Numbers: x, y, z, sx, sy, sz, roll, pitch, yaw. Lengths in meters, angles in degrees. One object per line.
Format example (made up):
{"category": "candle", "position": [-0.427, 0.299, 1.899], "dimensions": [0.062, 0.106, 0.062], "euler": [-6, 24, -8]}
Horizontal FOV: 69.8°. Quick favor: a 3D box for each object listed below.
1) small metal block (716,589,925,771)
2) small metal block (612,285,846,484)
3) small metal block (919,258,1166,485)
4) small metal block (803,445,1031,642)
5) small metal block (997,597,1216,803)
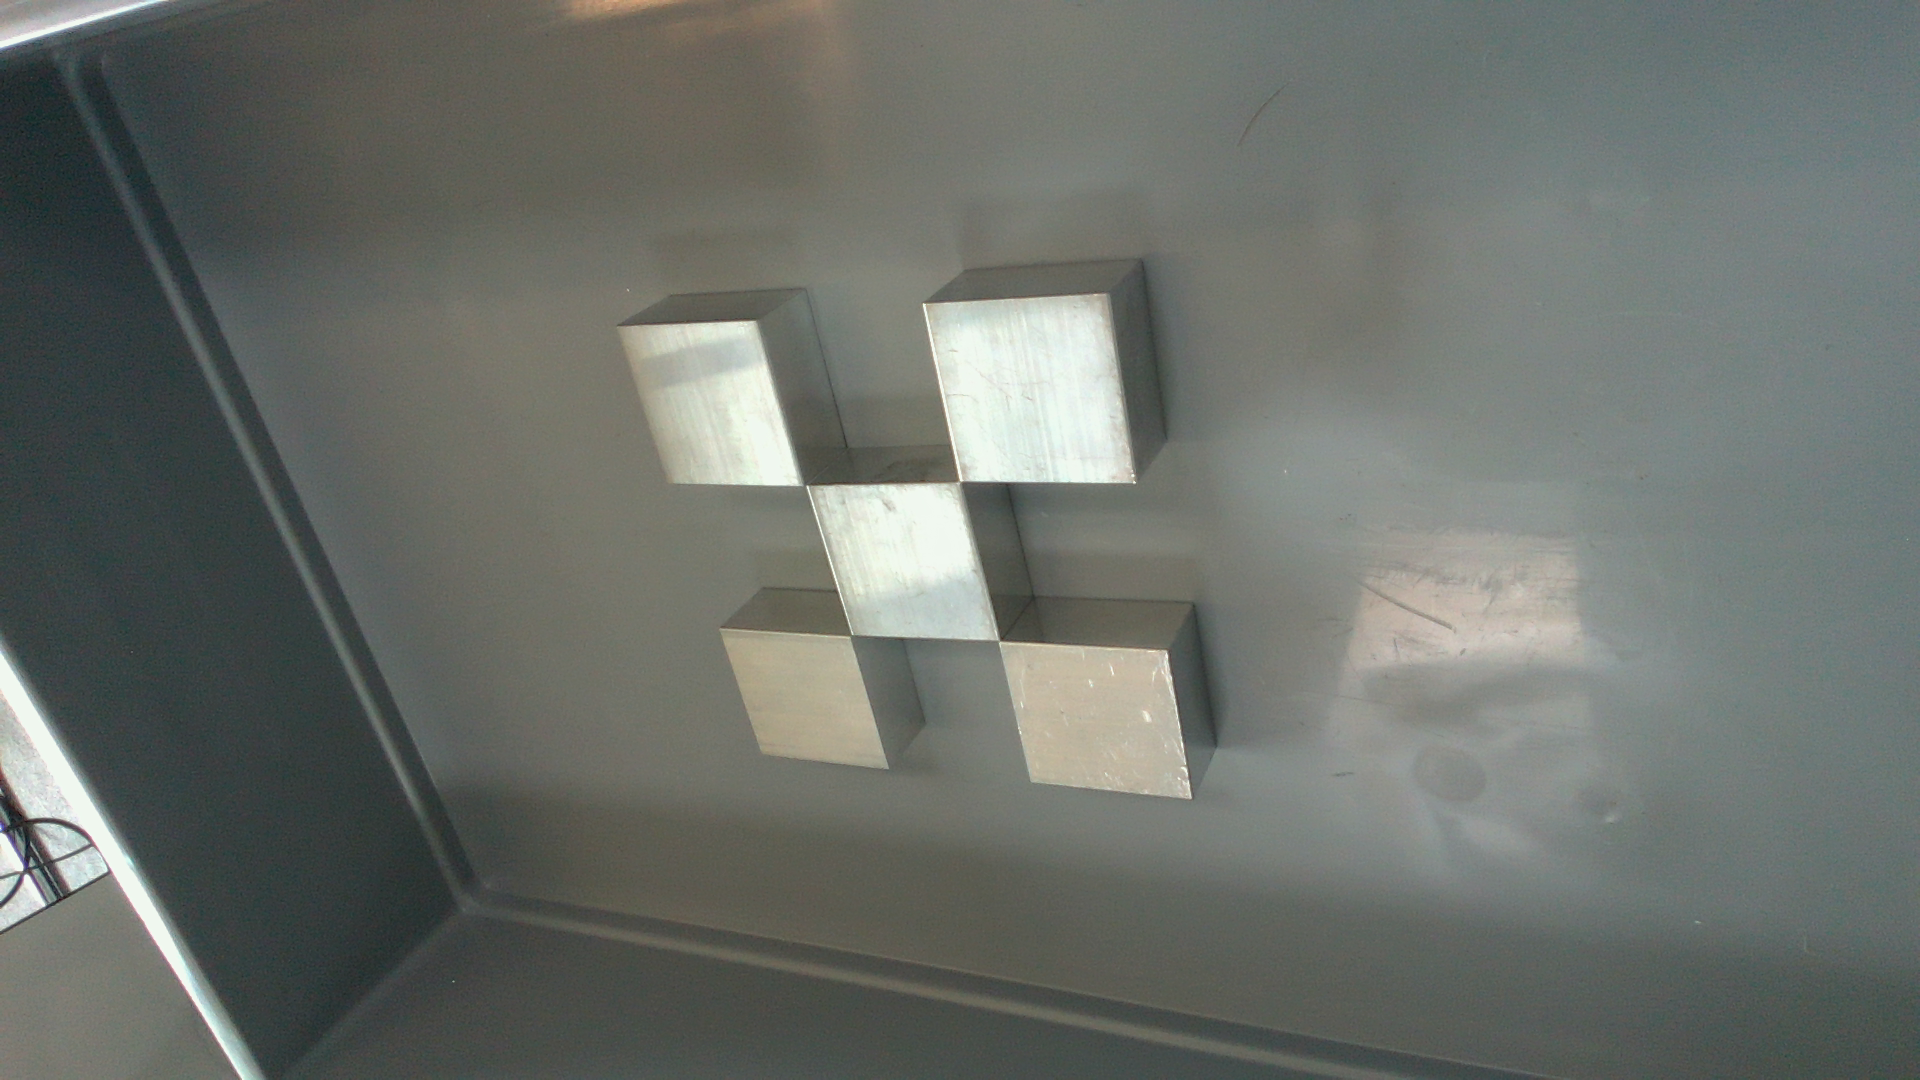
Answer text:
{"category": "small metal block", "position": [-0.044, 0.044, 0.442], "dimensions": [0.050, 0.025, 0.050], "euler": [1, 119, 28]}
{"category": "small metal block", "position": [-0.066, -0.044, 0.399], "dimensions": [0.050, 0.025, 0.050], "euler": [2, 119, 28]}
{"category": "small metal block", "position": [0.022, -0.043, 0.352], "dimensions": [0.050, 0.025, 0.050], "euler": [2, 120, 27]}
{"category": "small metal block", "position": [-0.012, 0.001, 0.397], "dimensions": [0.050, 0.025, 0.050], "euler": [0, 119, 28]}
{"category": "small metal block", "position": [0.043, 0.045, 0.395], "dimensions": [0.050, 0.025, 0.050], "euler": [1, 119, 28]}
